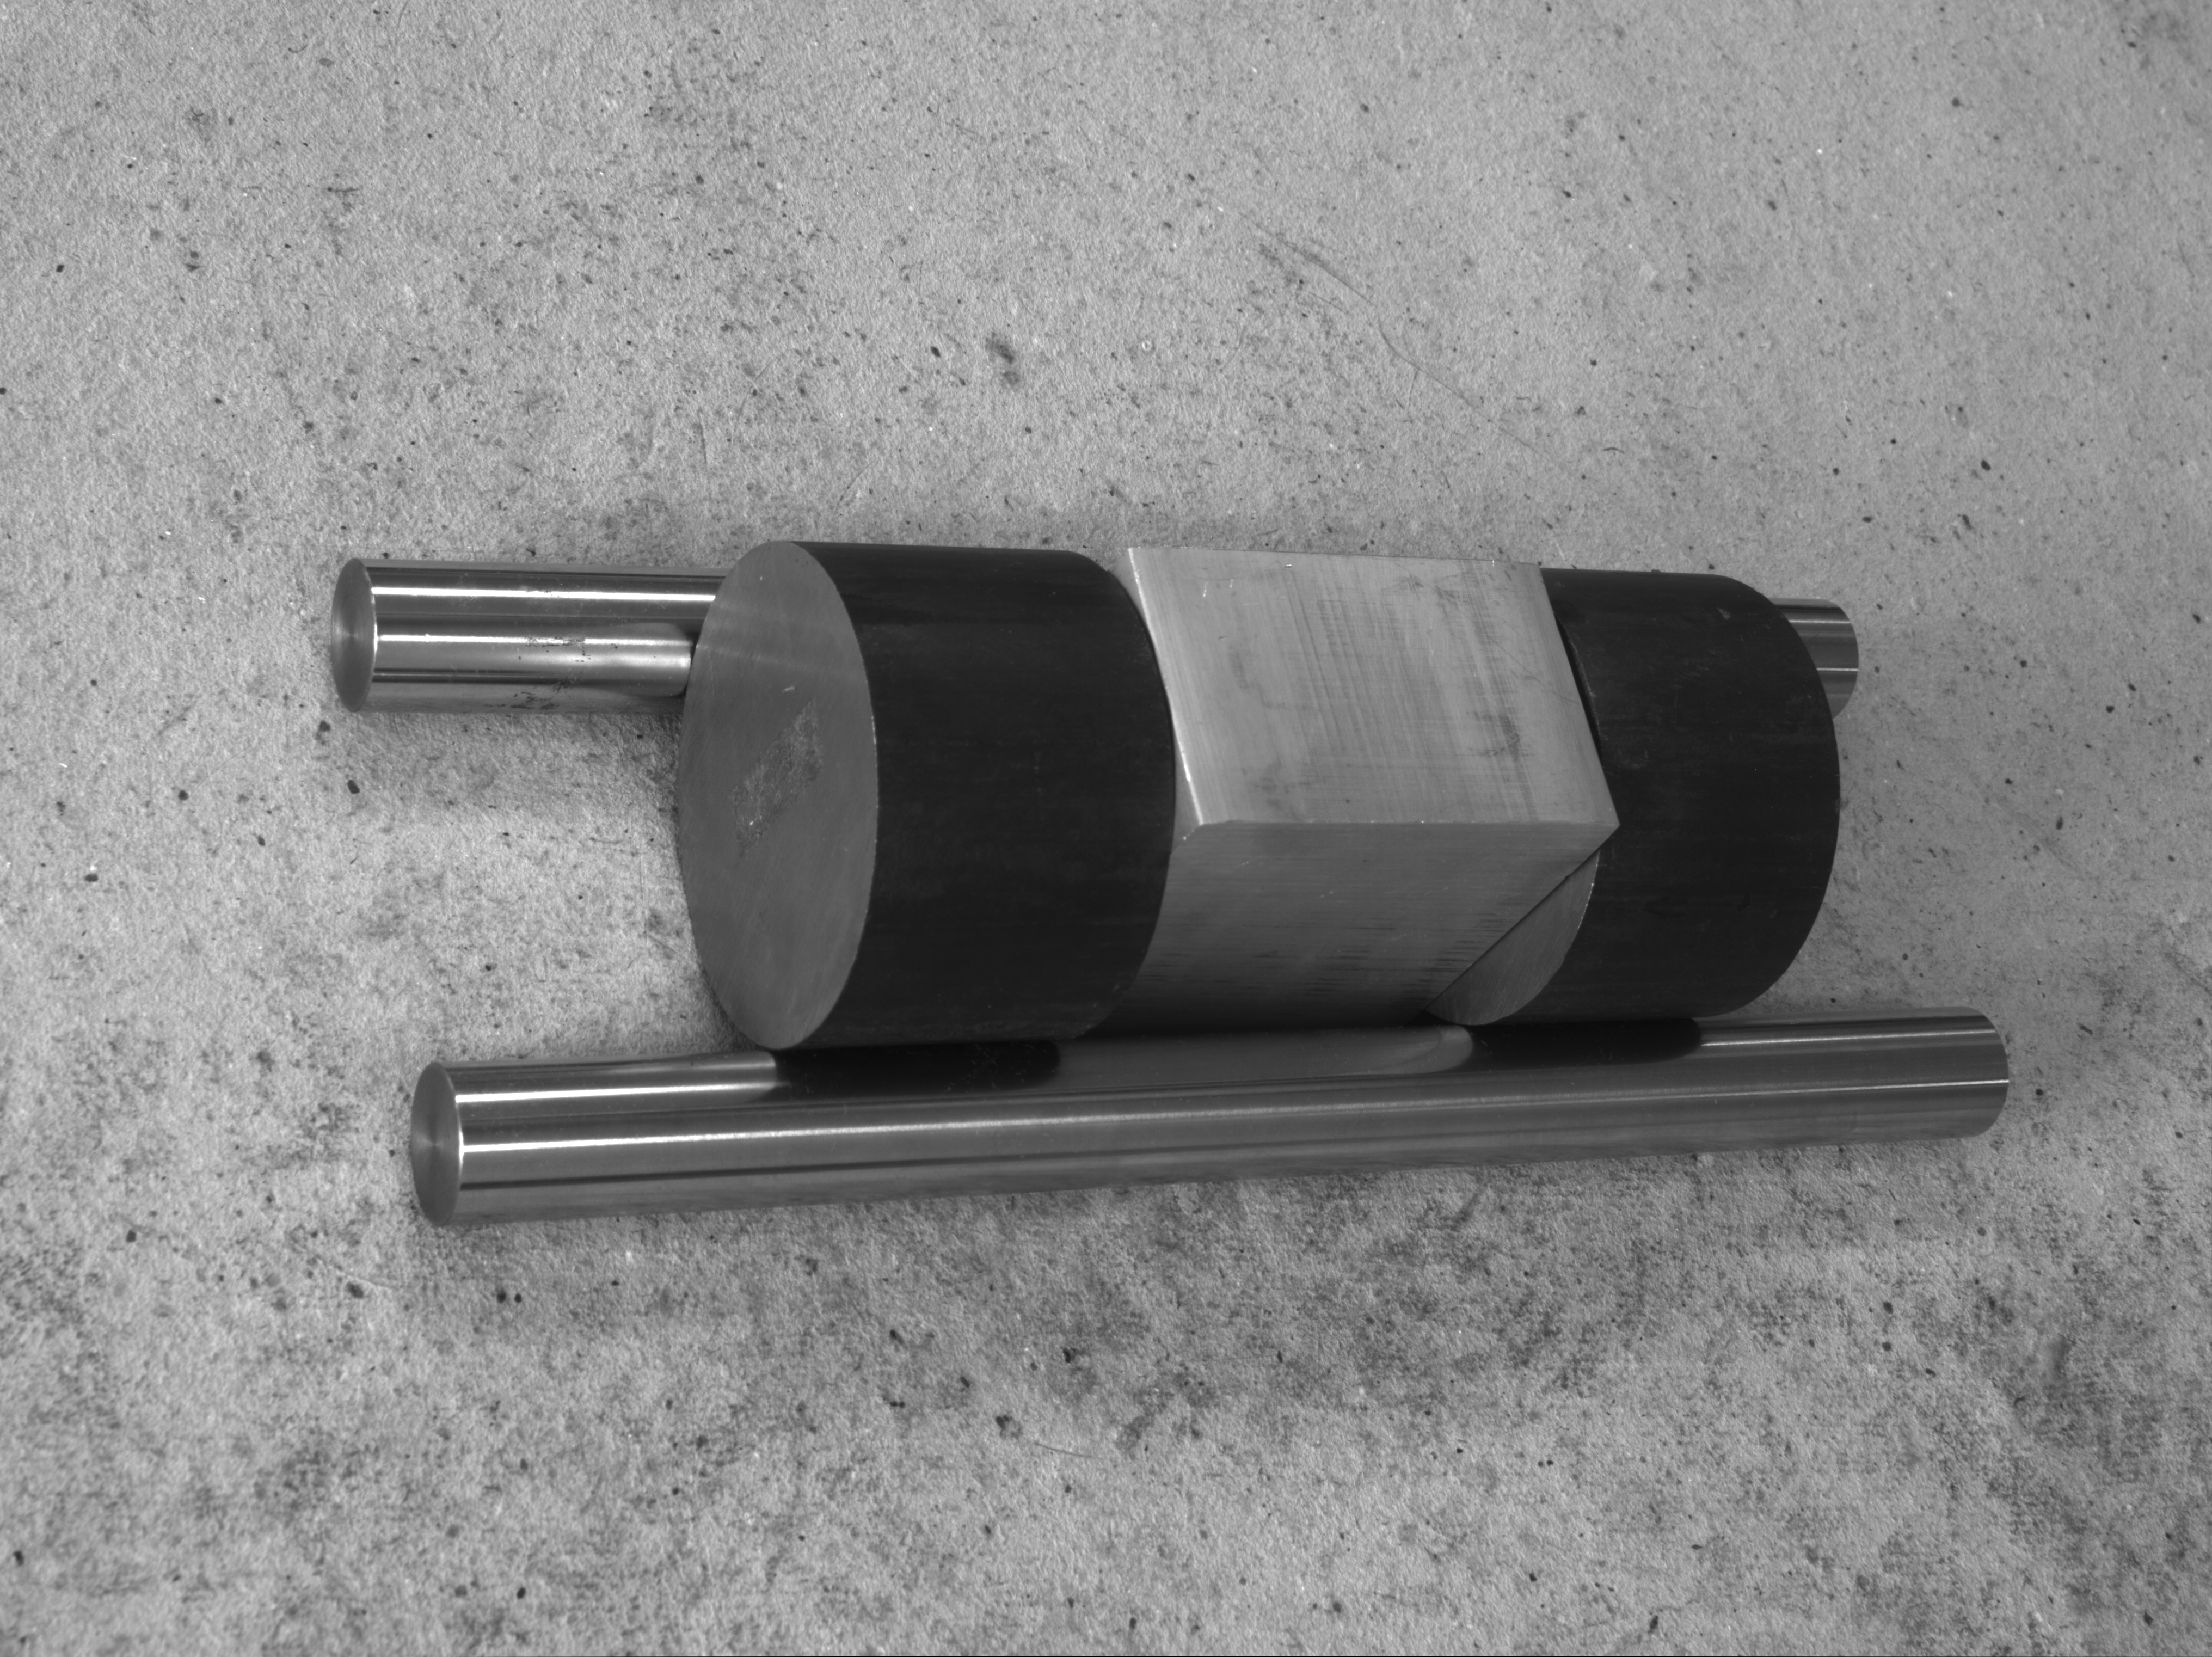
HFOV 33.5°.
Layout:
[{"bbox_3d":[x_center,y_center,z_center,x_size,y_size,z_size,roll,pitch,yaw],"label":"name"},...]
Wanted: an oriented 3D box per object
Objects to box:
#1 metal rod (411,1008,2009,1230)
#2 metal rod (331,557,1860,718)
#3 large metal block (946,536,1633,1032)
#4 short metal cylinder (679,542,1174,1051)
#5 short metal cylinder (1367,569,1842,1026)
[{"bbox_3d":[0.031,0.047,0.628,0.301,0.025,0.025,0,62,-28],"label":"metal rod"},{"bbox_3d":[0.011,-0.032,0.665,0.301,0.025,0.025,0,62,-28],"label":"metal rod"},{"bbox_3d":[0.028,-0.005,0.619,0.080,0.080,0.050,0,61,-28],"label":"large metal block"},{"bbox_3d":[-0.030,-0.005,0.591,0.050,0.080,0.080,-1,62,-28],"label":"short metal cylinder"},{"bbox_3d":[0.085,-0.006,0.653,0.050,0.080,0.080,-1,62,-28],"label":"short metal cylinder"}]
